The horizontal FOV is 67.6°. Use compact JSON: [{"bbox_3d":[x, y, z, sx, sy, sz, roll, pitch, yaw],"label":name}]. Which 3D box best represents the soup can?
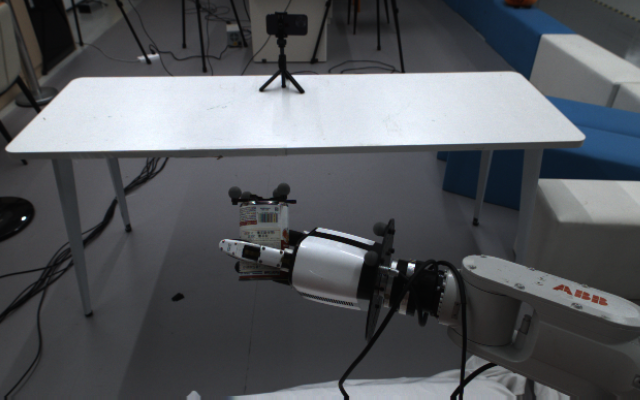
[{"bbox_3d":[-0.073,0.057,0.644,0.067,0.101,0.067,-1,-9,0],"label":"soup can"}]
